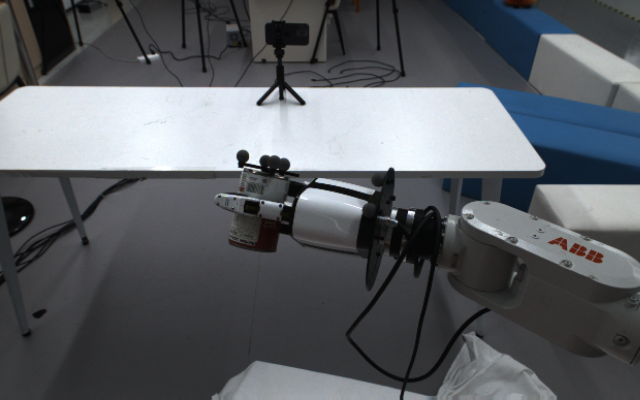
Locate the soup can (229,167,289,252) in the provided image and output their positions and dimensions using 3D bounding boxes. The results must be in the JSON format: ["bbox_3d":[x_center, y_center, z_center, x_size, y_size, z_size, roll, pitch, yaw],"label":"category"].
[{"bbox_3d":[-0.080,0.014,0.649,0.067,0.101,0.067,11,2,0],"label":"soup can"}]
